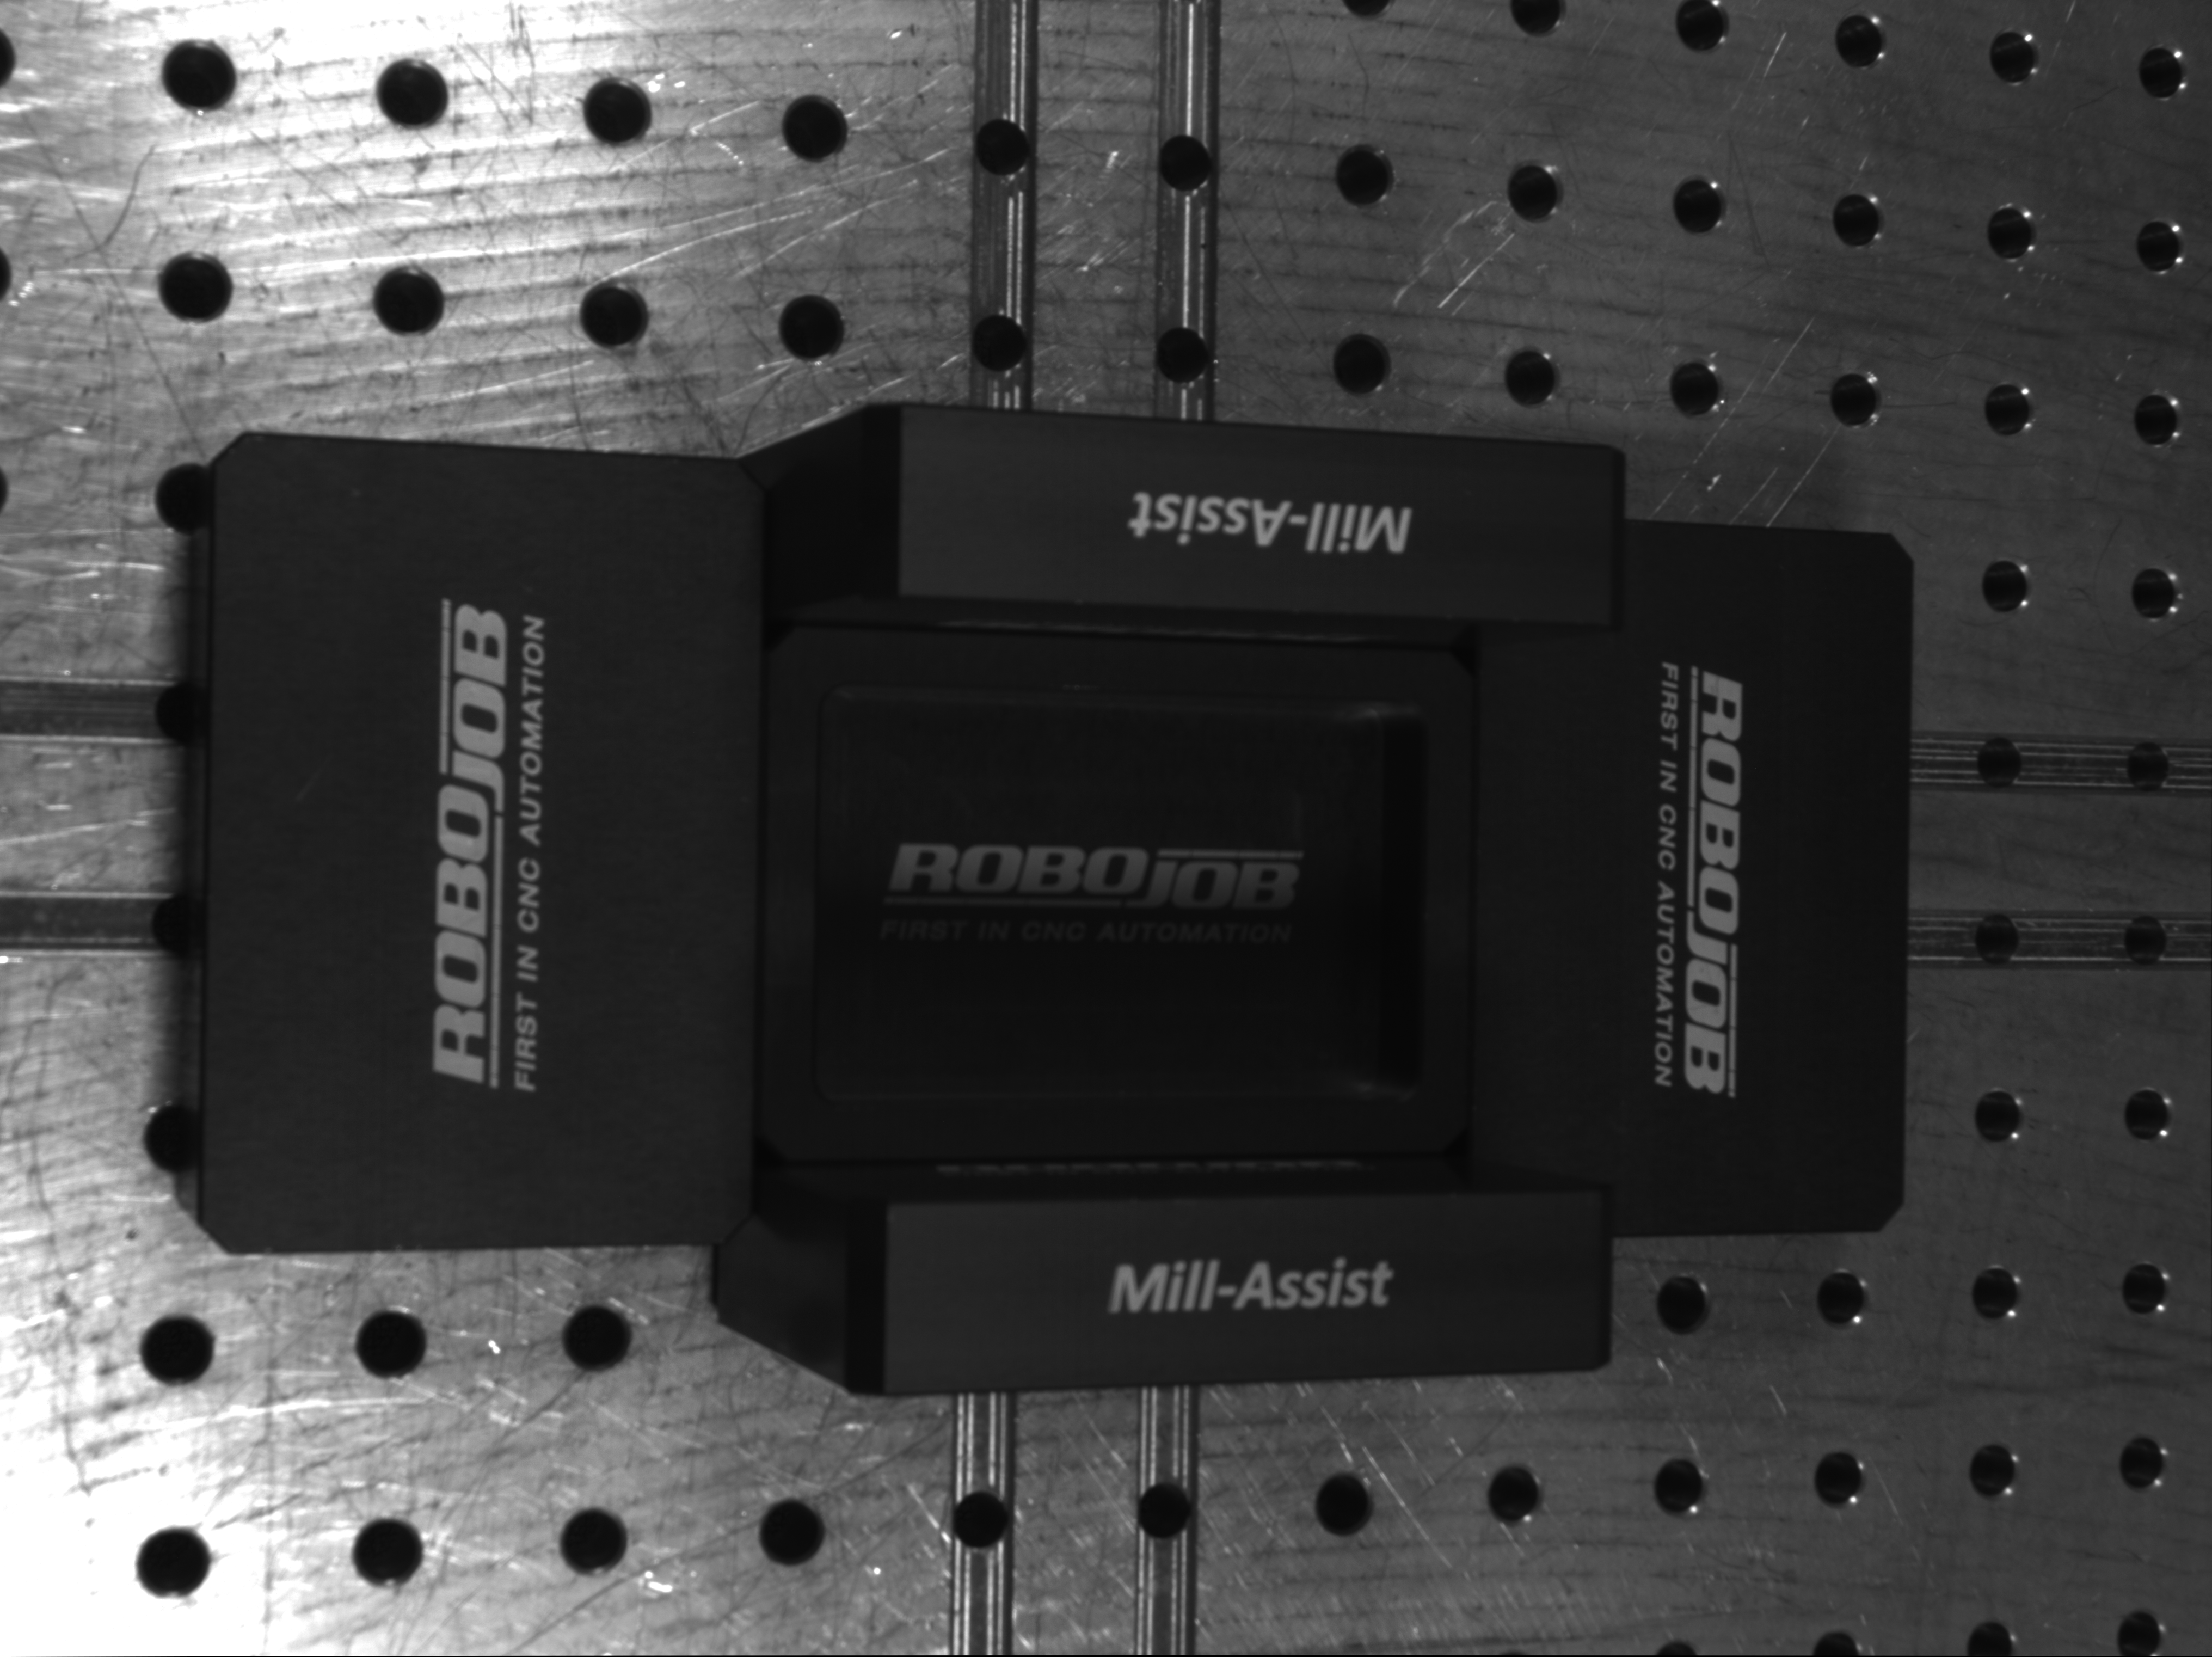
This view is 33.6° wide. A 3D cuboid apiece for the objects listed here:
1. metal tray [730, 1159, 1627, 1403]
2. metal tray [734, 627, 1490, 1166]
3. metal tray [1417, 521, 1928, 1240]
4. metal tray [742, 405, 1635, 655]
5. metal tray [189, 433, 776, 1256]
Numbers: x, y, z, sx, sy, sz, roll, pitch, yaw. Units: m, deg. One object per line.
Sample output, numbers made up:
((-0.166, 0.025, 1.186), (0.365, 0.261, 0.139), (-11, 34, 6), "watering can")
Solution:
((0.010, 0.073, 0.614), (0.130, 0.090, 0.030), (1, 90, -20), "metal tray")
((0.002, 0.012, 0.641), (0.130, 0.030, 0.090), (1, 90, -20), "metal tray")
((0.105, 0.010, 0.679), (0.090, 0.030, 0.130), (1, 90, -21), "metal tray")
((0.012, -0.048, 0.616), (0.130, 0.090, 0.030), (1, 90, -20), "metal tray")
((-0.103, 0.003, 0.605), (0.090, 0.030, 0.130), (1, 90, -20), "metal tray")
